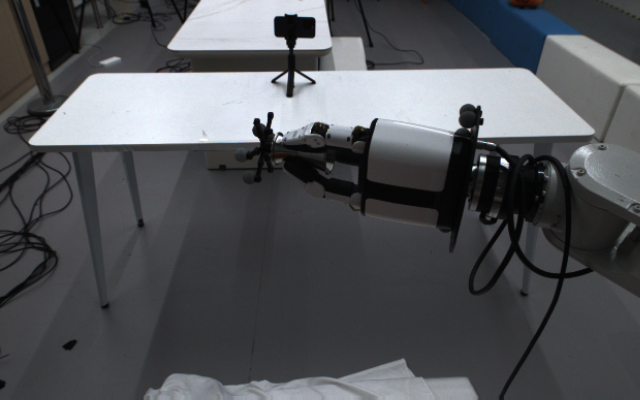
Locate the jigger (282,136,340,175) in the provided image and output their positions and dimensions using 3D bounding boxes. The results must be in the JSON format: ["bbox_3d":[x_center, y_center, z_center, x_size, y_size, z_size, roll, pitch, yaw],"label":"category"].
[{"bbox_3d":[-0.013,-0.061,0.571,0.071,0.043,0.043,10,35,16],"label":"jigger"}]
